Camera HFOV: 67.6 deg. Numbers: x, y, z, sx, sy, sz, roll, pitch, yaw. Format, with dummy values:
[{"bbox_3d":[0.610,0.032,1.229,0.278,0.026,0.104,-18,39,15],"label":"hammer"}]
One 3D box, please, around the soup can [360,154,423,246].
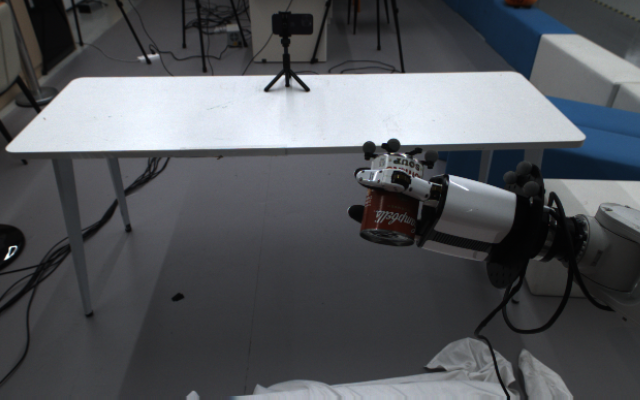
[{"bbox_3d":[0.091,0.000,0.601,0.067,0.067,0.101,8,72,9],"label":"soup can"}]
